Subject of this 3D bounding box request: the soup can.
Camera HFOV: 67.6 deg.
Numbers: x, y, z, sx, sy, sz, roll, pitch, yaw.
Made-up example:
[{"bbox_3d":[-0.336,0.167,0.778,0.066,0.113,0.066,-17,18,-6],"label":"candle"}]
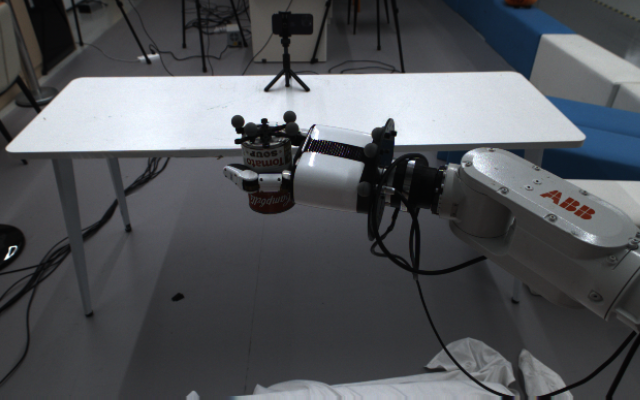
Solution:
[{"bbox_3d":[-0.068,-0.041,0.658,0.067,0.101,0.067,-2,32,1],"label":"soup can"}]
